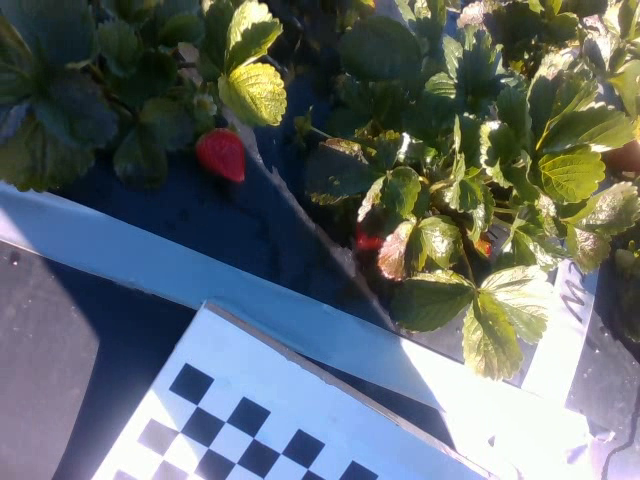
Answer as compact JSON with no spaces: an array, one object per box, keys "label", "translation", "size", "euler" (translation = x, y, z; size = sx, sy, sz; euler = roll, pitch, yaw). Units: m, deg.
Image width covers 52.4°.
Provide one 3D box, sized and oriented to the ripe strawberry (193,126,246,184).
[{"label":"ripe strawberry","translation":[-0.079,-0.068,0.527],"size":[0.045,0.059,0.042],"euler":[-29,-7,1]}]
